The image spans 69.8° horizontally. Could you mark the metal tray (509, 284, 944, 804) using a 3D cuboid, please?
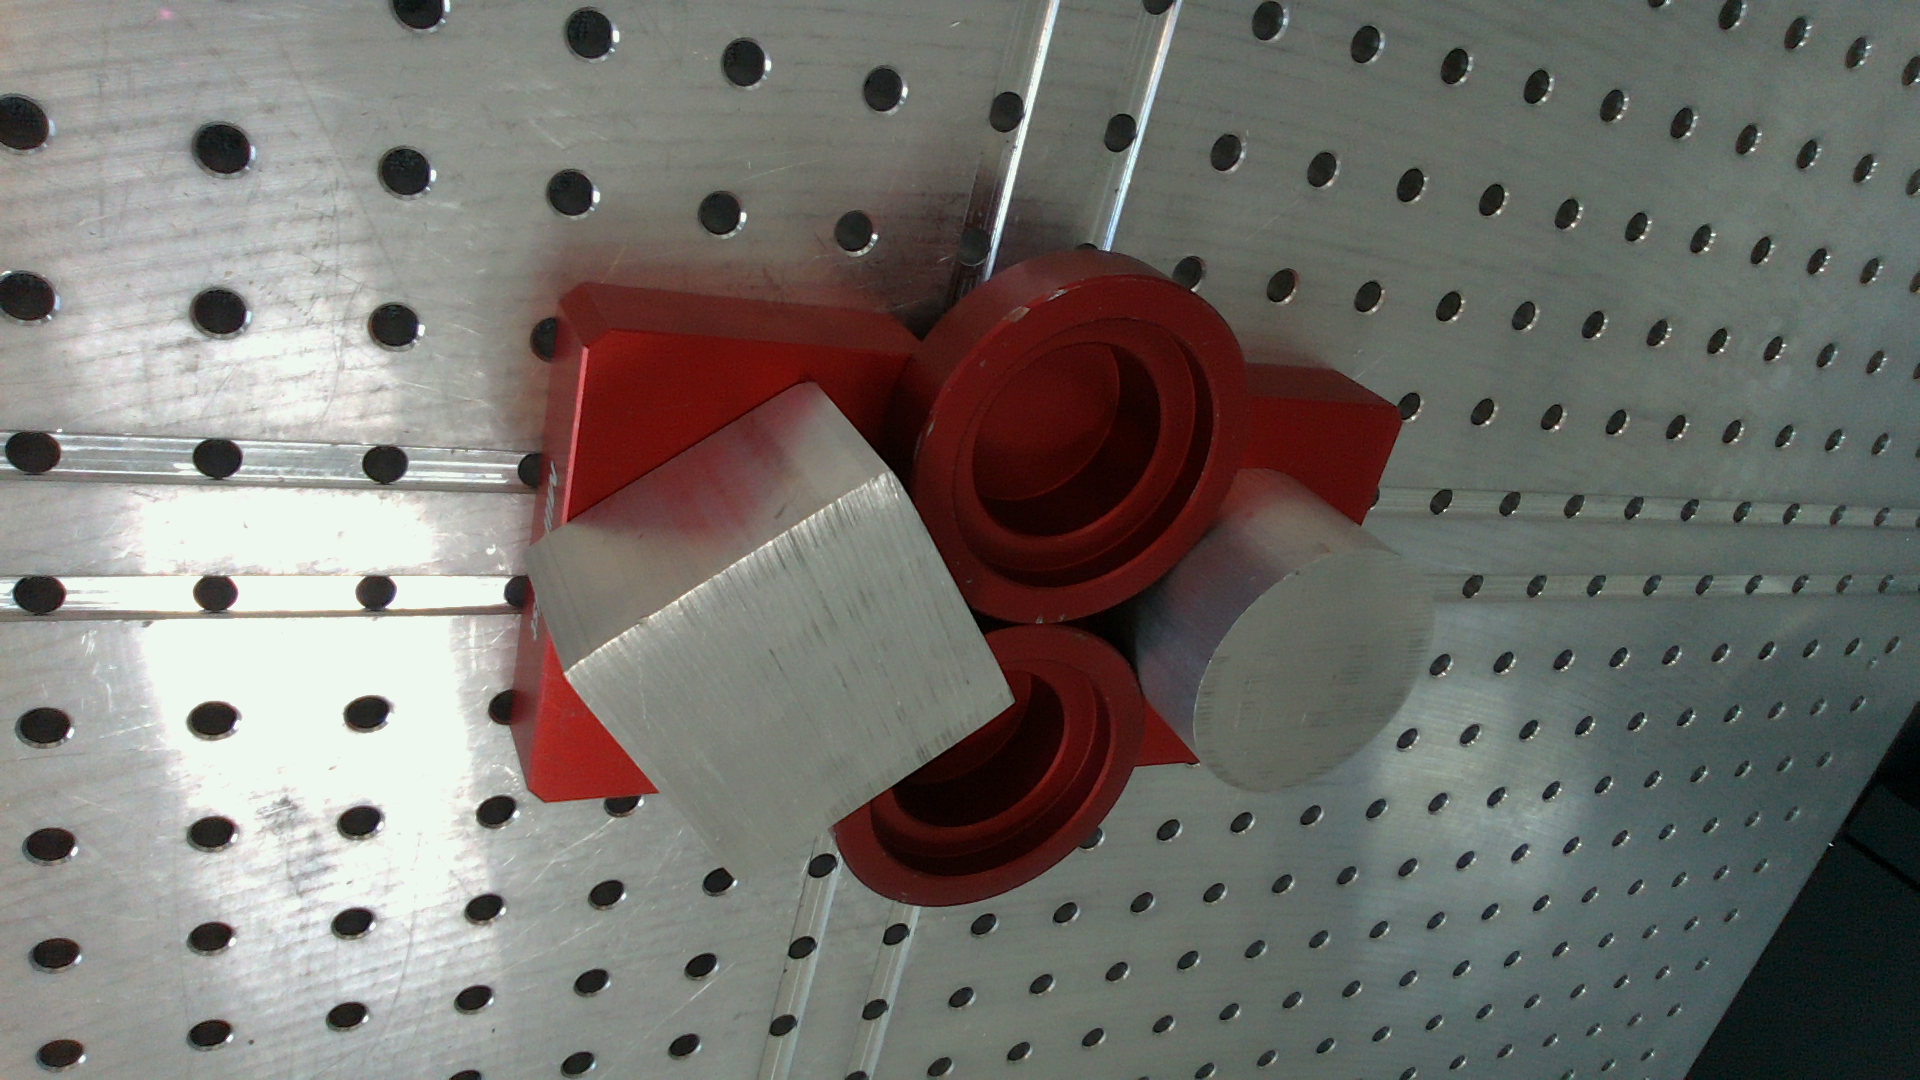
[{"bbox_3d":[-0.062,0.004,0.357,0.090,0.030,0.130,0,118,-30],"label":"metal tray"}]

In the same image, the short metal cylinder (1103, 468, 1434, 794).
[{"bbox_3d":[0.089,0.026,0.400,0.080,0.050,0.080,-14,124,-21],"label":"short metal cylinder"}]

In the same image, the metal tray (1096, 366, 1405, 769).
[{"bbox_3d":[0.077,0.011,0.434,0.090,0.030,0.130,0,118,-29],"label":"metal tray"}]

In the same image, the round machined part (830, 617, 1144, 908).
[{"bbox_3d":[0.001,0.056,0.405,0.098,0.042,0.098,-14,124,-21],"label":"round machined part"}]

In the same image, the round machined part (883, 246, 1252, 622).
[{"bbox_3d":[0.025,-0.031,0.364,0.098,0.042,0.098,-14,124,-21],"label":"round machined part"}]

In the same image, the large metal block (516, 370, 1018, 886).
[{"bbox_3d":[-0.044,0.021,0.326,0.080,0.050,0.080,-32,129,-7],"label":"large metal block"}]
